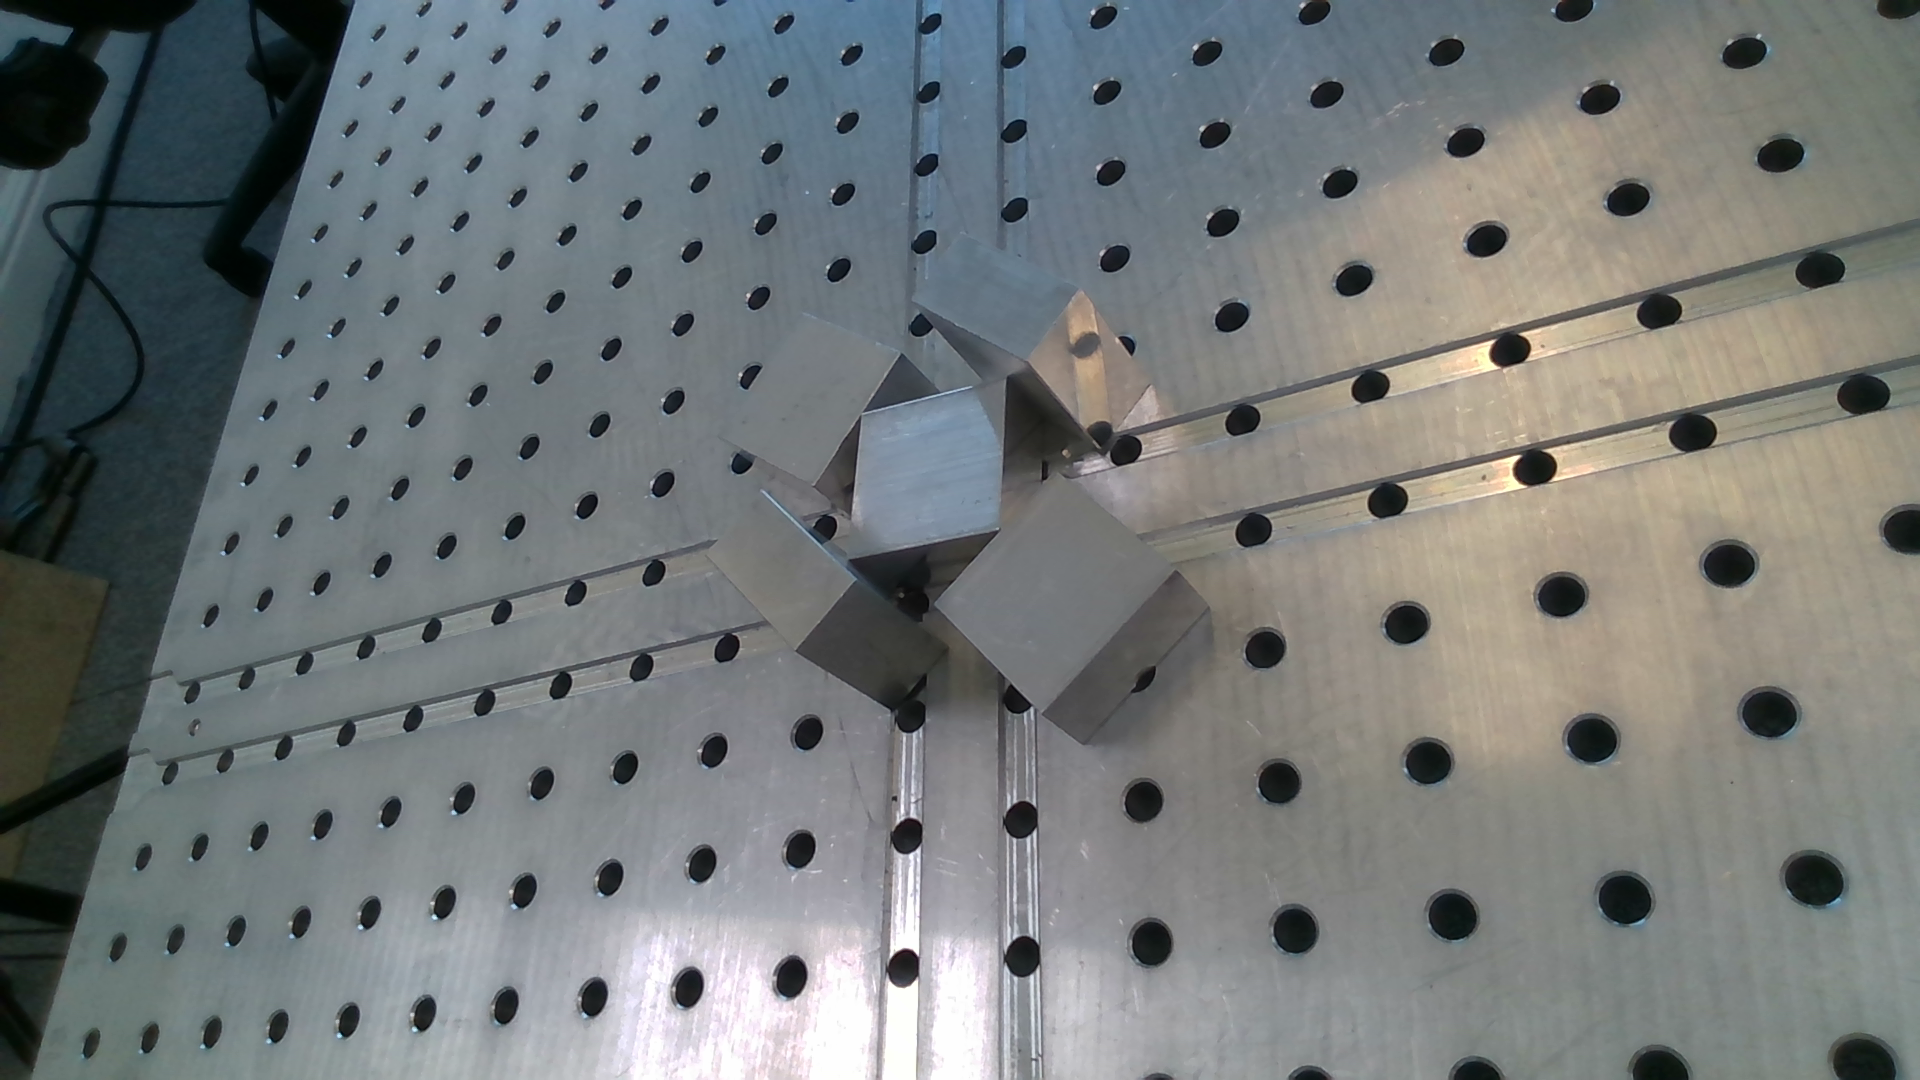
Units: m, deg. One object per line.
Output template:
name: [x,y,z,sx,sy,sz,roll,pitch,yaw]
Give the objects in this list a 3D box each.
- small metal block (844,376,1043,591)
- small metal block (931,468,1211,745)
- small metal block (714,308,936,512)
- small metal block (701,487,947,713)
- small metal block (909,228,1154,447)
small metal block: [-0.004,-0.016,0.406,0.050,0.025,0.050,-10,59,26]
small metal block: [0.029,0.017,0.369,0.050,0.025,0.050,-48,50,1]
small metal block: [-0.043,-0.041,0.444,0.050,0.025,0.050,28,82,38]
small metal block: [-0.039,0.017,0.394,0.025,0.050,0.050,-49,51,-1]
small metal block: [0.021,-0.058,0.397,0.050,0.050,0.025,35,87,40]
